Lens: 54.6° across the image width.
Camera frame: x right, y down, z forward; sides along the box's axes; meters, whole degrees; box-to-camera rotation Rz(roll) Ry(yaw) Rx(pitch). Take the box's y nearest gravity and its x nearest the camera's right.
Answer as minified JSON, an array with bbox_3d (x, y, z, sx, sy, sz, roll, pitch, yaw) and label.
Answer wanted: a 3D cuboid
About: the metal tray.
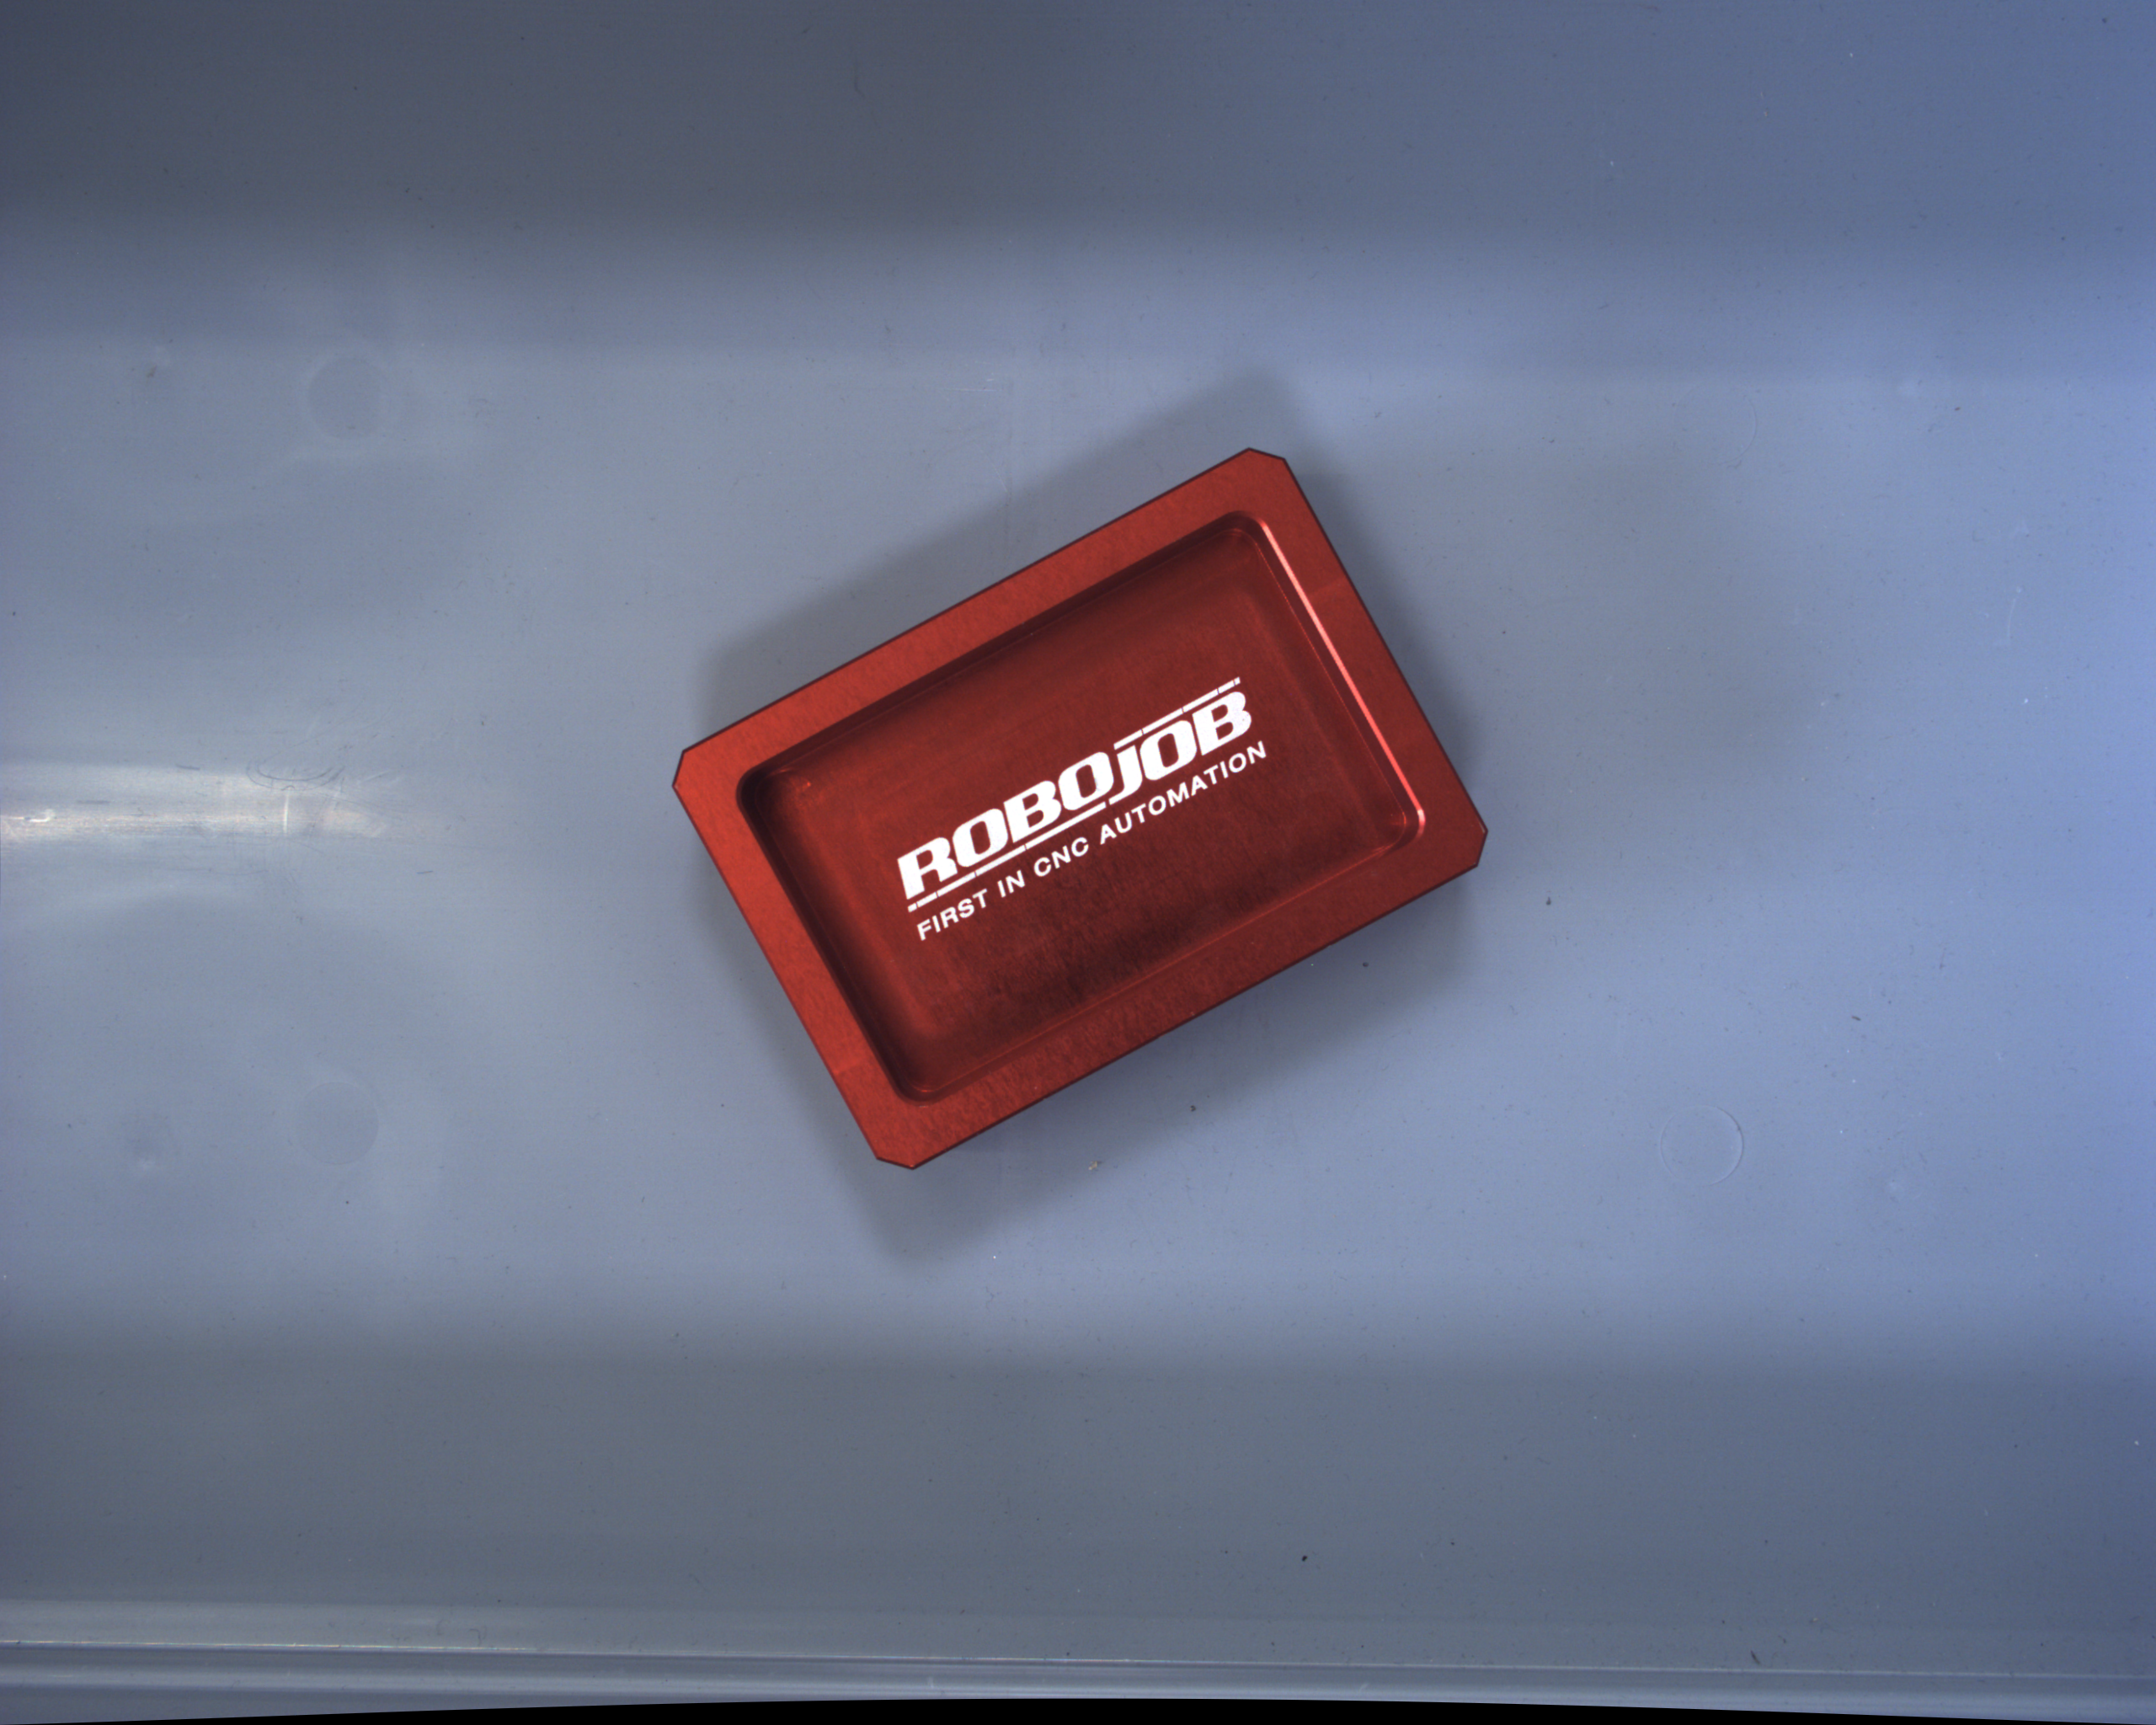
[{"bbox_3d":[0.000,-0.010,0.406,0.130,0.030,0.090,-28,90,-1],"label":"metal tray"}]
